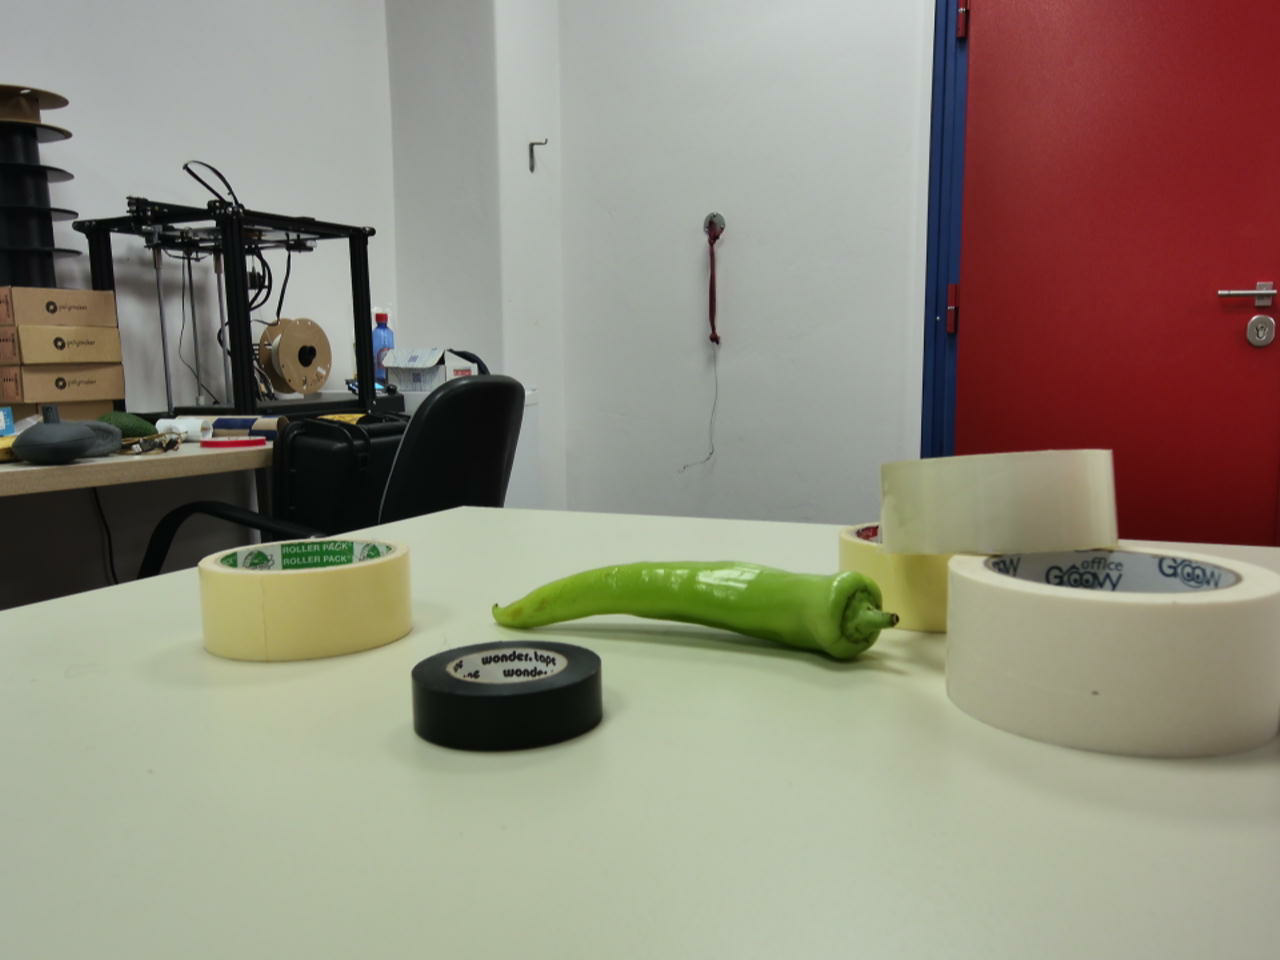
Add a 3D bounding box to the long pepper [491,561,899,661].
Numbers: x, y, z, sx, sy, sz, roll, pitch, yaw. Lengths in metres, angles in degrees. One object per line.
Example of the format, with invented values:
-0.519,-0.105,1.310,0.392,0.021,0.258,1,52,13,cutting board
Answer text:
0.021,0.053,0.450,0.197,0.038,0.046,2,4,27,long pepper
